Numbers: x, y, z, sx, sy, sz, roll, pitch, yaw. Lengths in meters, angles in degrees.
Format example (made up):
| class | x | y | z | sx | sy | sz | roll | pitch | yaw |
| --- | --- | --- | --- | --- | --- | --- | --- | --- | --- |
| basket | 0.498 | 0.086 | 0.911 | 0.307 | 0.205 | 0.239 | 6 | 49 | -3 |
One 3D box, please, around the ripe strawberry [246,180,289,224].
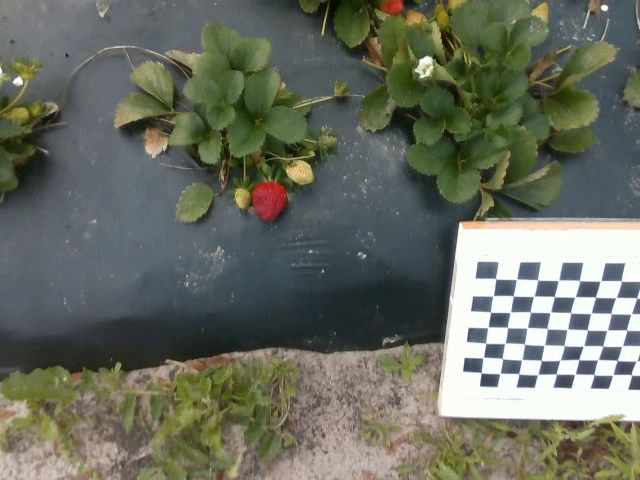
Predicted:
| class | x | y | z | sx | sy | sz | roll | pitch | yaw |
| --- | --- | --- | --- | --- | --- | --- | --- | --- | --- |
| ripe strawberry | -0.060 | -0.041 | 0.803 | 0.046 | 0.059 | 0.046 | -3 | -38 | 6 |
